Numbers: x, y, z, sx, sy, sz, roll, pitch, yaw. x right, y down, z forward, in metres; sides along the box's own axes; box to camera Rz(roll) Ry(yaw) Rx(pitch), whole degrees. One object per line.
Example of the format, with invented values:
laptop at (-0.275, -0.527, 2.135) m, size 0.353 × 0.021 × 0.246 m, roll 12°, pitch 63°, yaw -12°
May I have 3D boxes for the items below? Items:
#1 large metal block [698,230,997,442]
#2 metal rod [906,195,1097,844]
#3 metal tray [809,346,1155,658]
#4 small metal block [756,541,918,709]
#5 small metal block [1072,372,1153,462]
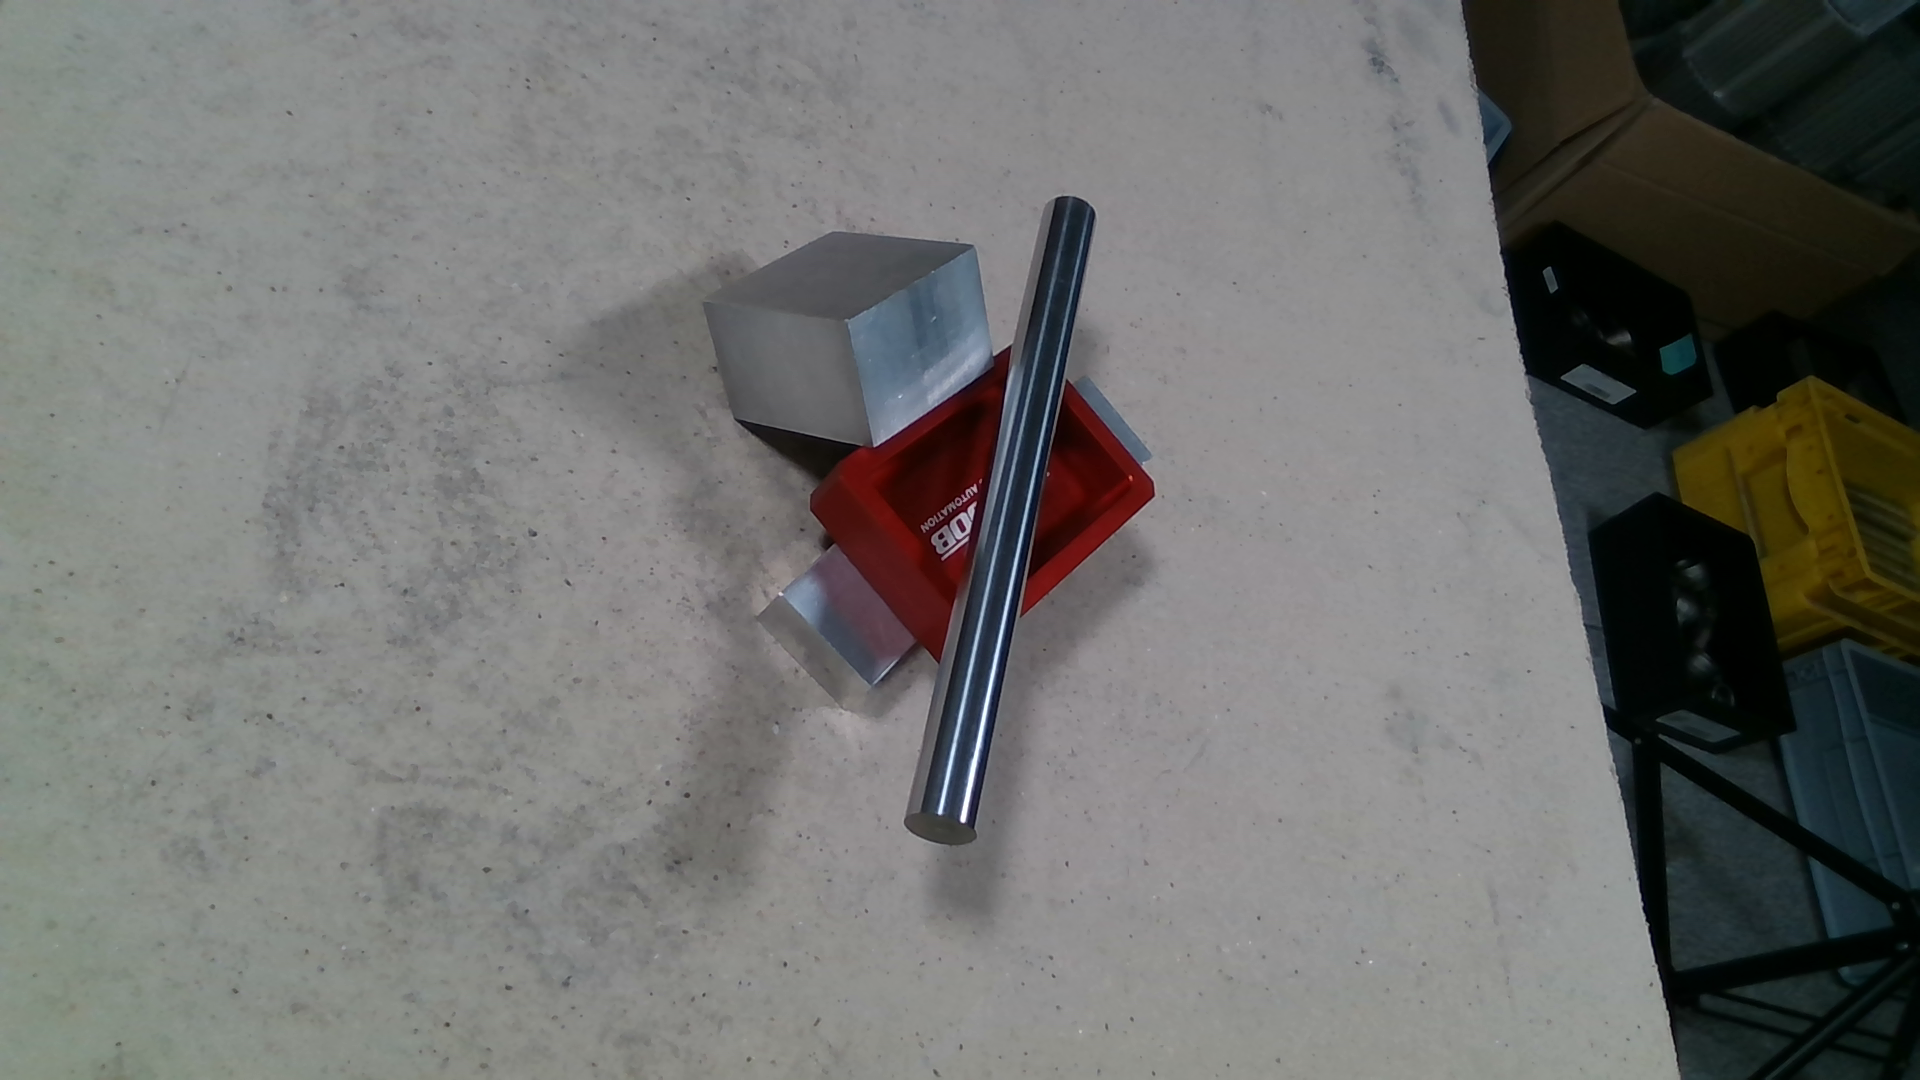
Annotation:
large metal block at (-0.044, -0.086, 0.558) m, size 0.080 × 0.080 × 0.050 m, roll -39°, pitch 130°, yaw -40°
metal rod at (0.022, -0.025, 0.542) m, size 0.025 × 0.025 × 0.299 m, roll 25°, pitch 55°, yaw -18°
metal tray at (0.012, -0.019, 0.568) m, size 0.090 × 0.030 × 0.130 m, roll 50°, pitch 51°, yaw 1°
small metal block at (-0.043, 0.029, 0.544) m, size 0.050 × 0.025 × 0.050 m, roll 46°, pitch 51°, yaw -2°
small metal block at (0.054, -0.043, 0.642) m, size 0.050 × 0.025 × 0.050 m, roll 51°, pitch 51°, yaw 2°
